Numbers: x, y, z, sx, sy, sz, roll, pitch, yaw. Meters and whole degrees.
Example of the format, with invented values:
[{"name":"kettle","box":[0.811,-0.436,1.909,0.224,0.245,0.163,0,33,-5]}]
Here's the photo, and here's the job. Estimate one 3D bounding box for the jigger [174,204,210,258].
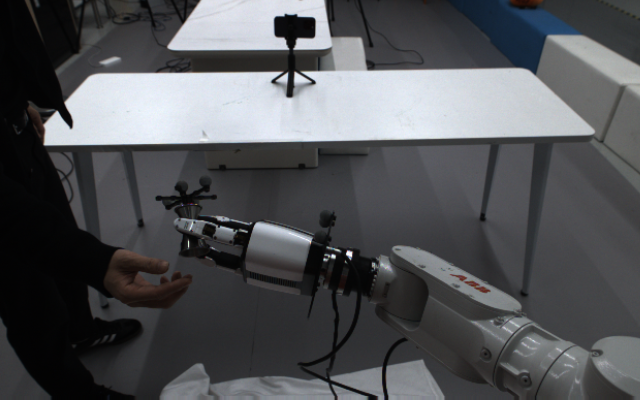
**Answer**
[{"name":"jigger","box":[-0.185,0.044,0.698,0.043,0.043,0.071,-9,71,-15]}]
